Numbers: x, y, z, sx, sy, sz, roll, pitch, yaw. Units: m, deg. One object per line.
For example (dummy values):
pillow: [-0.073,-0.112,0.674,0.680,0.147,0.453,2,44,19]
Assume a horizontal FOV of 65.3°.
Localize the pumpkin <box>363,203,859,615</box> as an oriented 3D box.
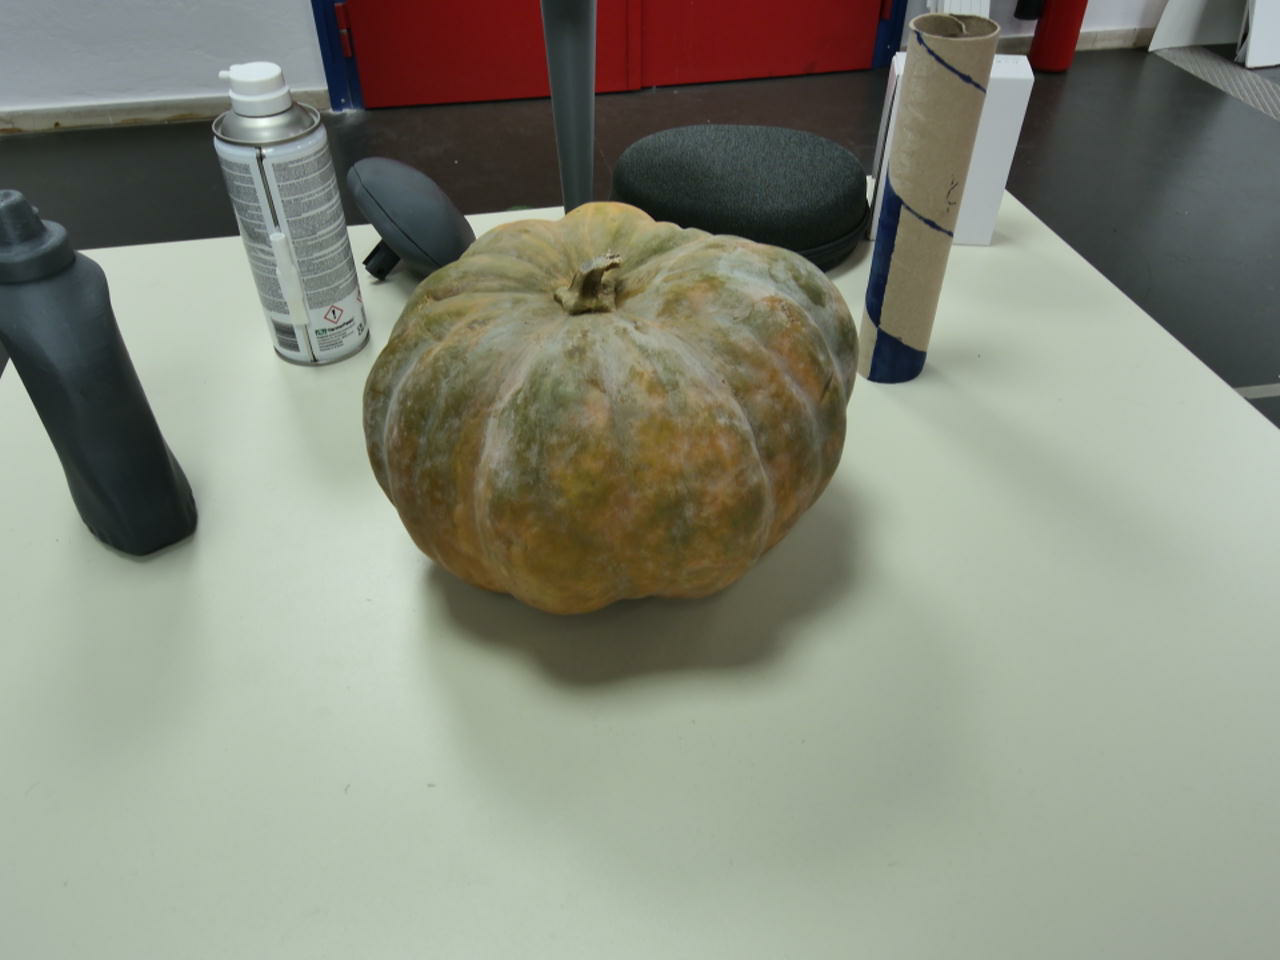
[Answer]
pumpkin: [-0.020,-0.042,0.522,0.252,0.169,0.251,0,39,0]
